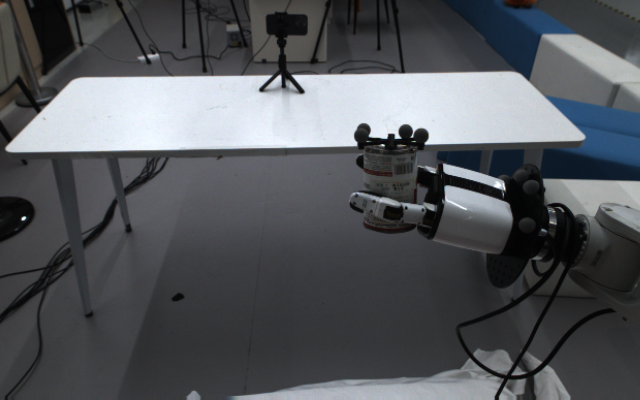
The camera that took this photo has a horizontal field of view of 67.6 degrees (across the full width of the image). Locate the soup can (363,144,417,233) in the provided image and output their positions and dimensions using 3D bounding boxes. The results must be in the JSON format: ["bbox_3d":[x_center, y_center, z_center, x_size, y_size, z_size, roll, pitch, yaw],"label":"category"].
[{"bbox_3d":[0.089,-0.017,0.599,0.067,0.101,0.067,-1,17,0],"label":"soup can"}]
